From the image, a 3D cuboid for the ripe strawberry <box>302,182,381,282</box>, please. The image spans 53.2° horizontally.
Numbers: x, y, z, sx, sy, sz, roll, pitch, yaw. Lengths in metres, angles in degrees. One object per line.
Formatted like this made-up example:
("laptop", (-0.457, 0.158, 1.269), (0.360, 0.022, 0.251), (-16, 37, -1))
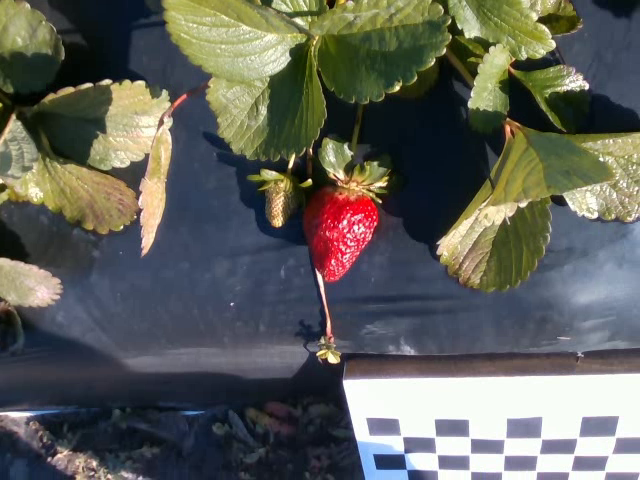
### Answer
("ripe strawberry", (0.010, -0.003, 0.315), (0.041, 0.053, 0.043), (3, -2, 2))
